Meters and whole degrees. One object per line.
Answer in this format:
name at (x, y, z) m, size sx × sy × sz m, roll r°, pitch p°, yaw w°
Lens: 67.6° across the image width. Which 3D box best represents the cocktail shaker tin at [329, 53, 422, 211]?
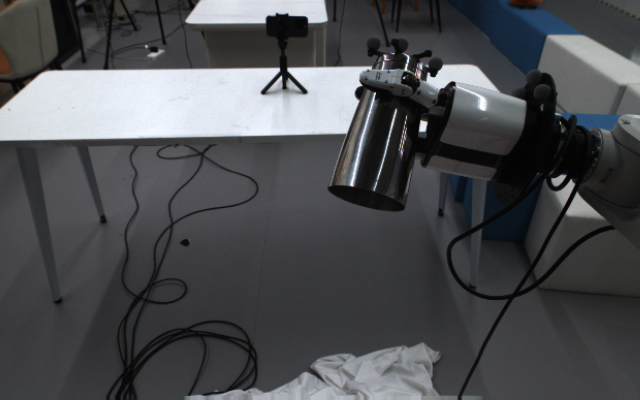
cocktail shaker tin at (0.079, -0.084, 0.572) m, size 0.093 × 0.093 × 0.170 m, roll 13°, pitch 79°, yaw 15°
